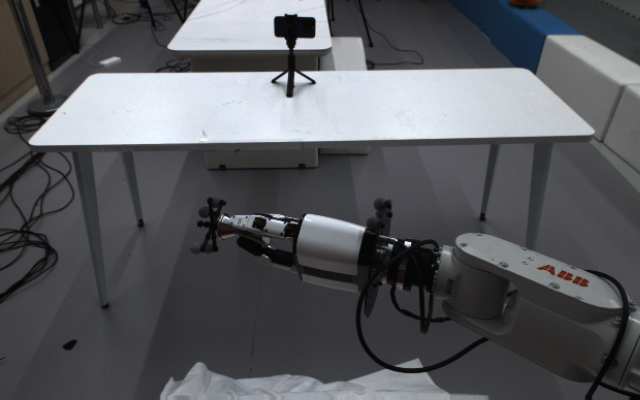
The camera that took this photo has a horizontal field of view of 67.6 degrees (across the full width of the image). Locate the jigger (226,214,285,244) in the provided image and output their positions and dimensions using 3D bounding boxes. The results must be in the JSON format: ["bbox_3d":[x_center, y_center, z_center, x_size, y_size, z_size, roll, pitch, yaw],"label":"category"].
[{"bbox_3d":[-0.101,0.039,0.692,0.071,0.043,0.043,6,35,13],"label":"jigger"}]
